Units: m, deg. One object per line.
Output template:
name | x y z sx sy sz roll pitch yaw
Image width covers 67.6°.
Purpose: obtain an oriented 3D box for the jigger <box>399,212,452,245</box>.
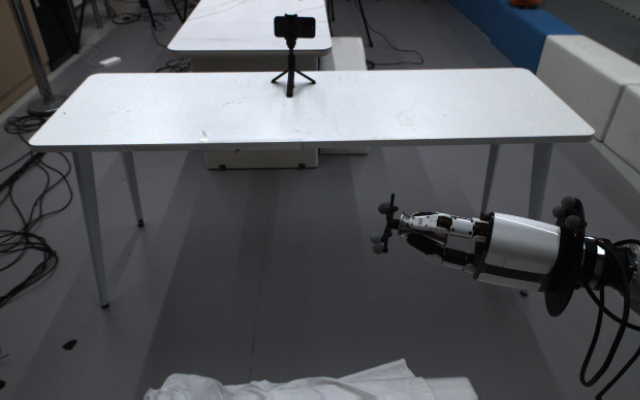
jigger | 0.155 0.038 0.693 0.071 0.043 0.043 10 35 15
